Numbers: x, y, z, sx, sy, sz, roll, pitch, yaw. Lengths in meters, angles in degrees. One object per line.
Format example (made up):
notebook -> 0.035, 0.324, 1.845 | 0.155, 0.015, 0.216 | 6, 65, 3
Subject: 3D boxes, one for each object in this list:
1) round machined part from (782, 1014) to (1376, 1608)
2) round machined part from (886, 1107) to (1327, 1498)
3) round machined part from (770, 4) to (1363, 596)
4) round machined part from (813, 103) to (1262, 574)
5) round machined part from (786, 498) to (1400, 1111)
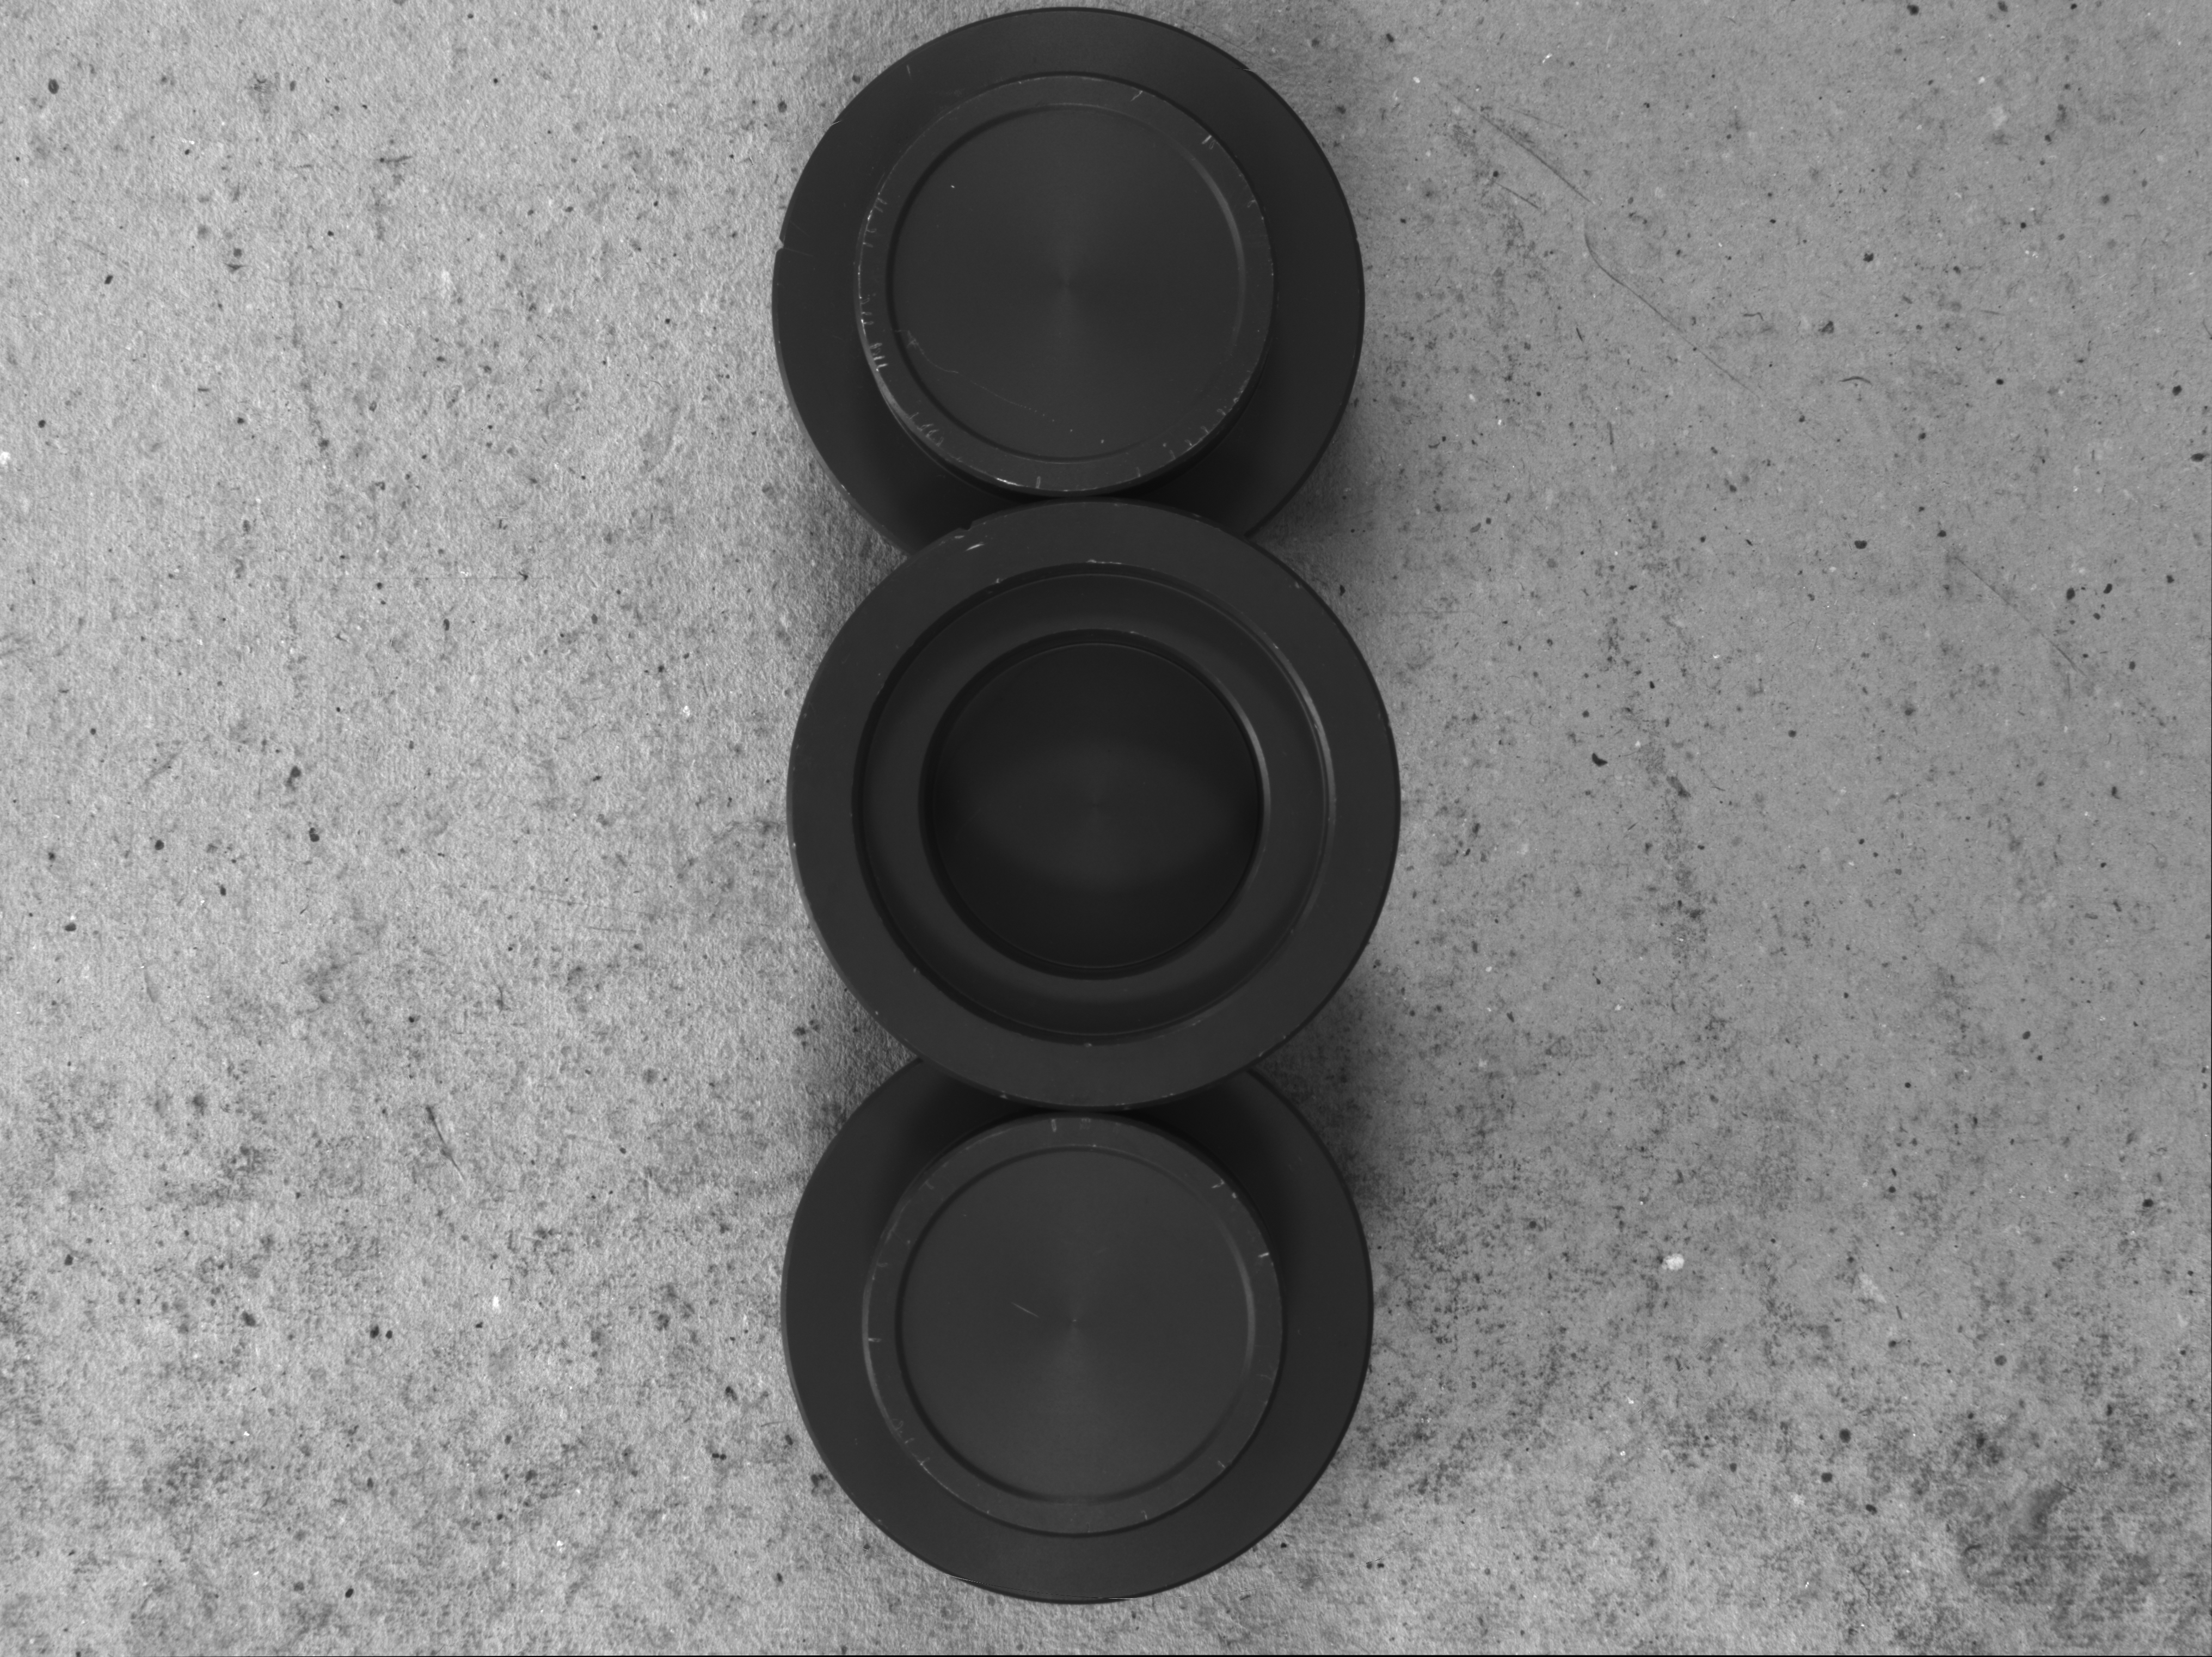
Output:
round machined part -> -0.005, 0.079, 0.603 | 0.098, 0.042, 0.098 | 0, 90, 1
round machined part -> -0.005, 0.082, 0.638 | 0.098, 0.042, 0.098 | 0, 89, 1
round machined part -> -0.007, -0.087, 0.604 | 0.098, 0.042, 0.098 | 0, 90, 1
round machined part -> -0.006, -0.089, 0.637 | 0.098, 0.042, 0.098 | 0, 90, 2
round machined part -> -0.002, -0.004, 0.605 | 0.098, 0.042, 0.098 | 0, 90, 0
